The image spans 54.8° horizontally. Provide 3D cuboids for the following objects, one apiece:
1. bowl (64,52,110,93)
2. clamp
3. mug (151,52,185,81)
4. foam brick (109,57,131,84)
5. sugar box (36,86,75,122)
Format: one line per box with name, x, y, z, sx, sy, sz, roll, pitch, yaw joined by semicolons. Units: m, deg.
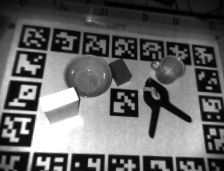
bowl;-0.089;-0.038;0.747;0.162;0.055;0.161;4;70;-10
clamp;0.160;0.051;0.763;0.166;0.036;0.202;-19;76;-14
mug;0.197;-0.073;0.795;0.117;0.081;0.093;29;68;-2
foam brick;0.026;-0.053;0.781;0.053;0.051;0.077;-23;76;-15
sugar box;-0.158;0.060;0.635;0.093;0.176;0.045;-20;76;-17
